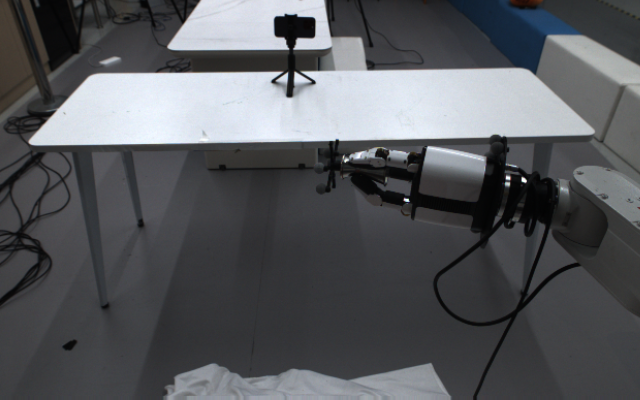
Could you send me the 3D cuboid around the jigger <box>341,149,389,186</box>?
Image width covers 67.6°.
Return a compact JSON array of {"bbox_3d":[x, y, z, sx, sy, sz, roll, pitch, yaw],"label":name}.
[{"bbox_3d":[0.074,-0.052,0.726,0.071,0.043,0.043,8,35,14],"label":"jigger"}]
